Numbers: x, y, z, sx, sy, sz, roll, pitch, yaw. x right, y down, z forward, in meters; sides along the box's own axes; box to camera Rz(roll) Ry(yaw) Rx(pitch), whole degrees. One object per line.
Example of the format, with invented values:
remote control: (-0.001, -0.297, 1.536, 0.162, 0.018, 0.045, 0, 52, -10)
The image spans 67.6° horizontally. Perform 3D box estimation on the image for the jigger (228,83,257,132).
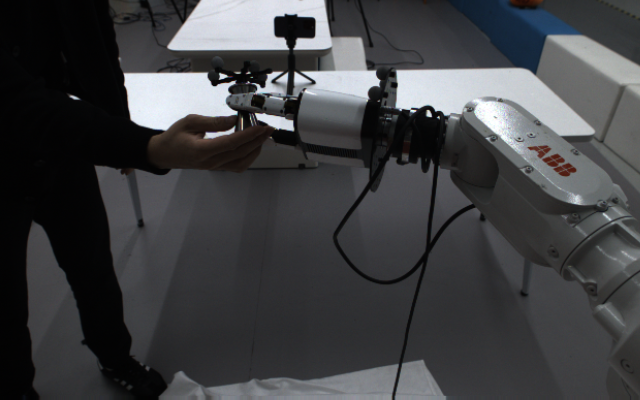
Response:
jigger: (-0.107, -0.123, 0.665, 0.043, 0.071, 0.043, -7, -8, -1)
